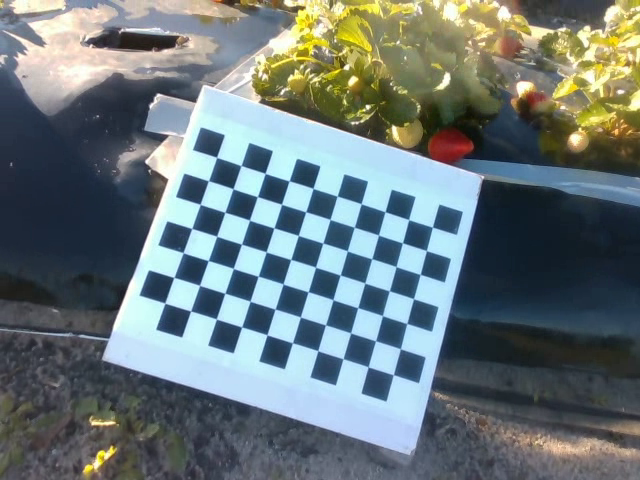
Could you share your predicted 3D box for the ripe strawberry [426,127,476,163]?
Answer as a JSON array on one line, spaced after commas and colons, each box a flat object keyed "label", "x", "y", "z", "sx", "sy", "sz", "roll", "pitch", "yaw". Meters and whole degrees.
[{"label": "ripe strawberry", "x": 0.140, "y": -0.098, "z": 0.624, "sx": 0.049, "sy": 0.045, "sz": 0.063, "roll": 46, "pitch": -11, "yaw": -25}]
